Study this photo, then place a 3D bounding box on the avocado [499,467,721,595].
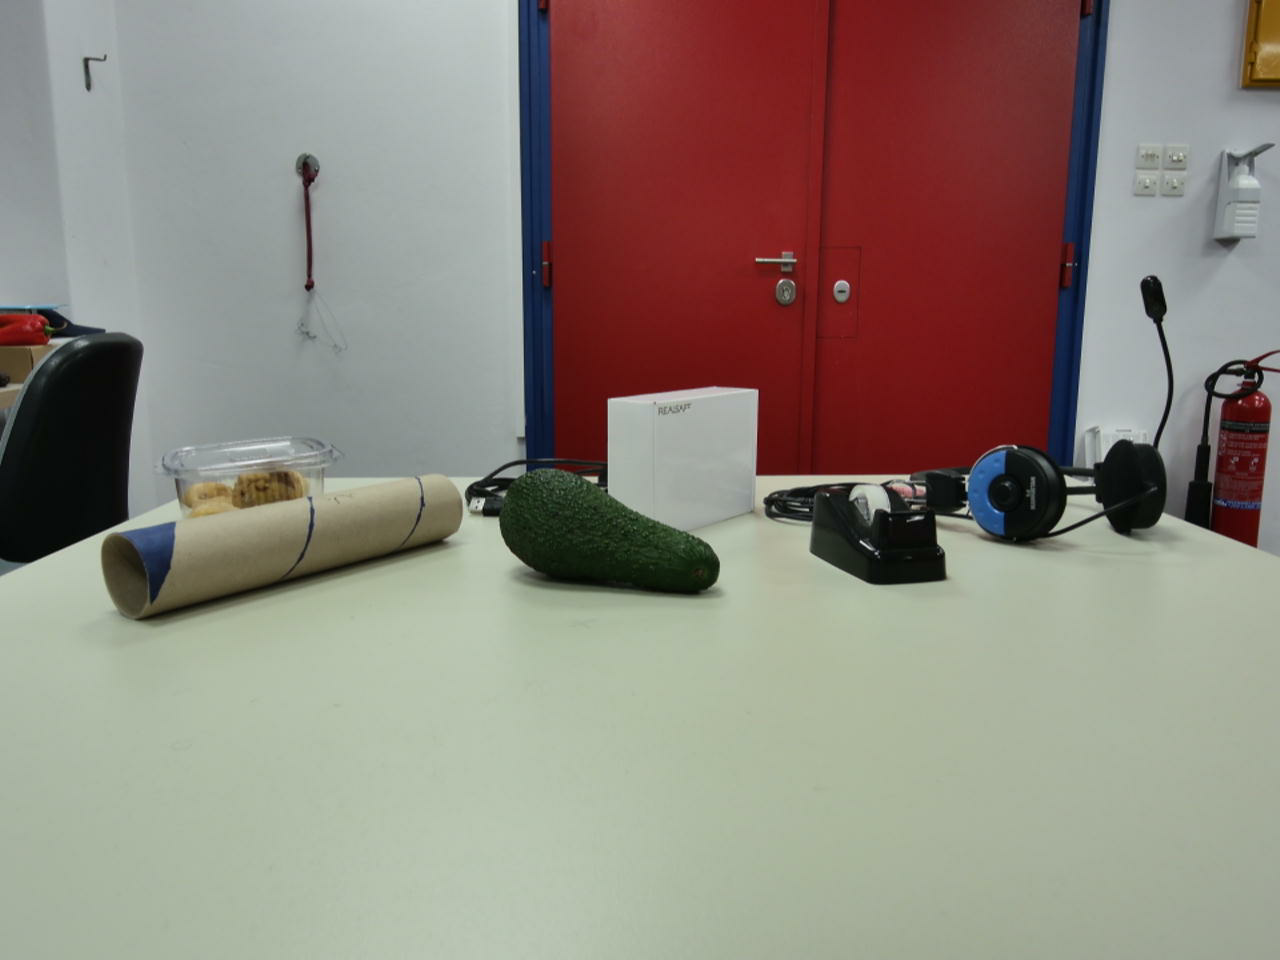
[{"bbox_3d":[-0.018,0.028,0.591,0.141,0.067,0.063,2,8,14],"label":"avocado"}]
